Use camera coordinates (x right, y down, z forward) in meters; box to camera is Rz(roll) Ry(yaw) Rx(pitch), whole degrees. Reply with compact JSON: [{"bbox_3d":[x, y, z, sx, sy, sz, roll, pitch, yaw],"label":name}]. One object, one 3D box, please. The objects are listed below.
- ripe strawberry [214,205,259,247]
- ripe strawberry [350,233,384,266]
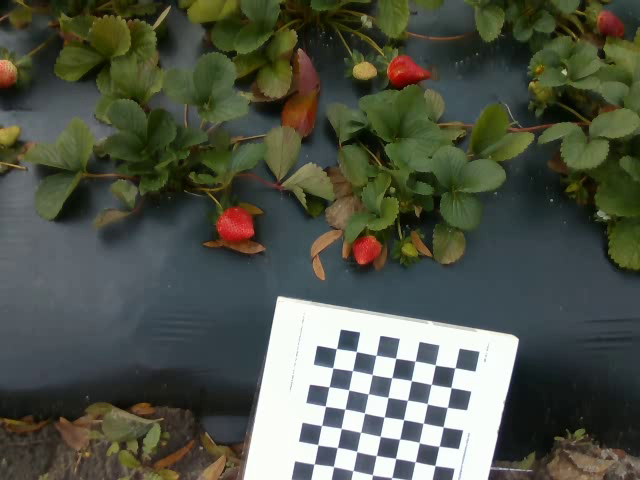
[{"bbox_3d":[-0.097,-0.015,0.604,0.043,0.047,0.065,9,10,-40],"label":"ripe strawberry"},{"bbox_3d":[0.054,0.017,0.607,0.041,0.042,0.037,20,-44,-3],"label":"ripe strawberry"}]
